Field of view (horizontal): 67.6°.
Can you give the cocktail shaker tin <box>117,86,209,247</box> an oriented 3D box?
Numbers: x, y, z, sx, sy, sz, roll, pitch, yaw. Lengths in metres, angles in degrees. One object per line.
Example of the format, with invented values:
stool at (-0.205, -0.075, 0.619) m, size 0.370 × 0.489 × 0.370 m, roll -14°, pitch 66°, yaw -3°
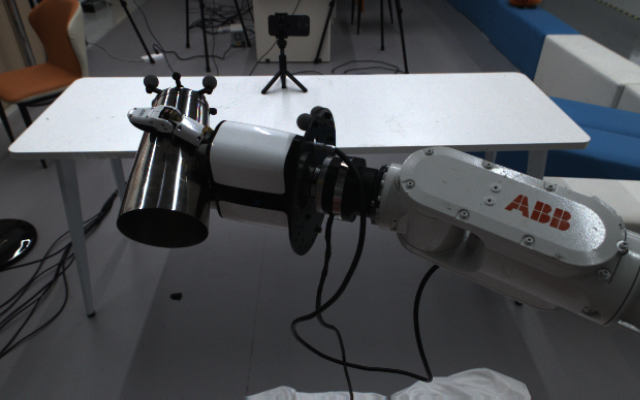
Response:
cocktail shaker tin at (-0.166, -0.042, 0.542) m, size 0.093 × 0.093 × 0.170 m, roll 0°, pitch 59°, yaw -3°
